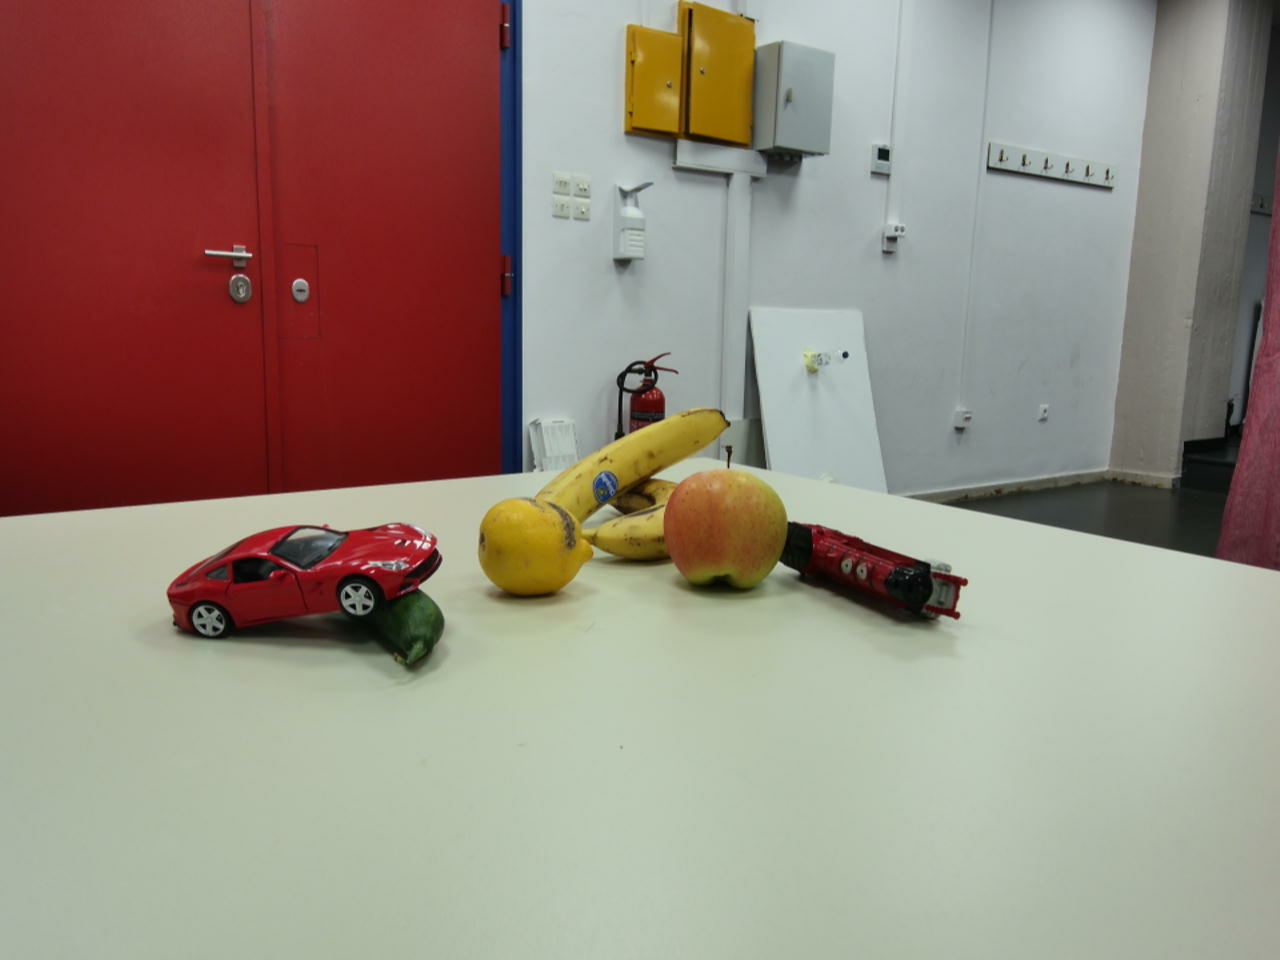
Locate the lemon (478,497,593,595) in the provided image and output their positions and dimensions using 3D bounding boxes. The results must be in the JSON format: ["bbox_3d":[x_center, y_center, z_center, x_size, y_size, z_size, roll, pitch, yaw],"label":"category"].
[{"bbox_3d":[-0.063,0.038,0.577,0.061,0.056,0.058,-7,11,-43],"label":"lemon"}]
